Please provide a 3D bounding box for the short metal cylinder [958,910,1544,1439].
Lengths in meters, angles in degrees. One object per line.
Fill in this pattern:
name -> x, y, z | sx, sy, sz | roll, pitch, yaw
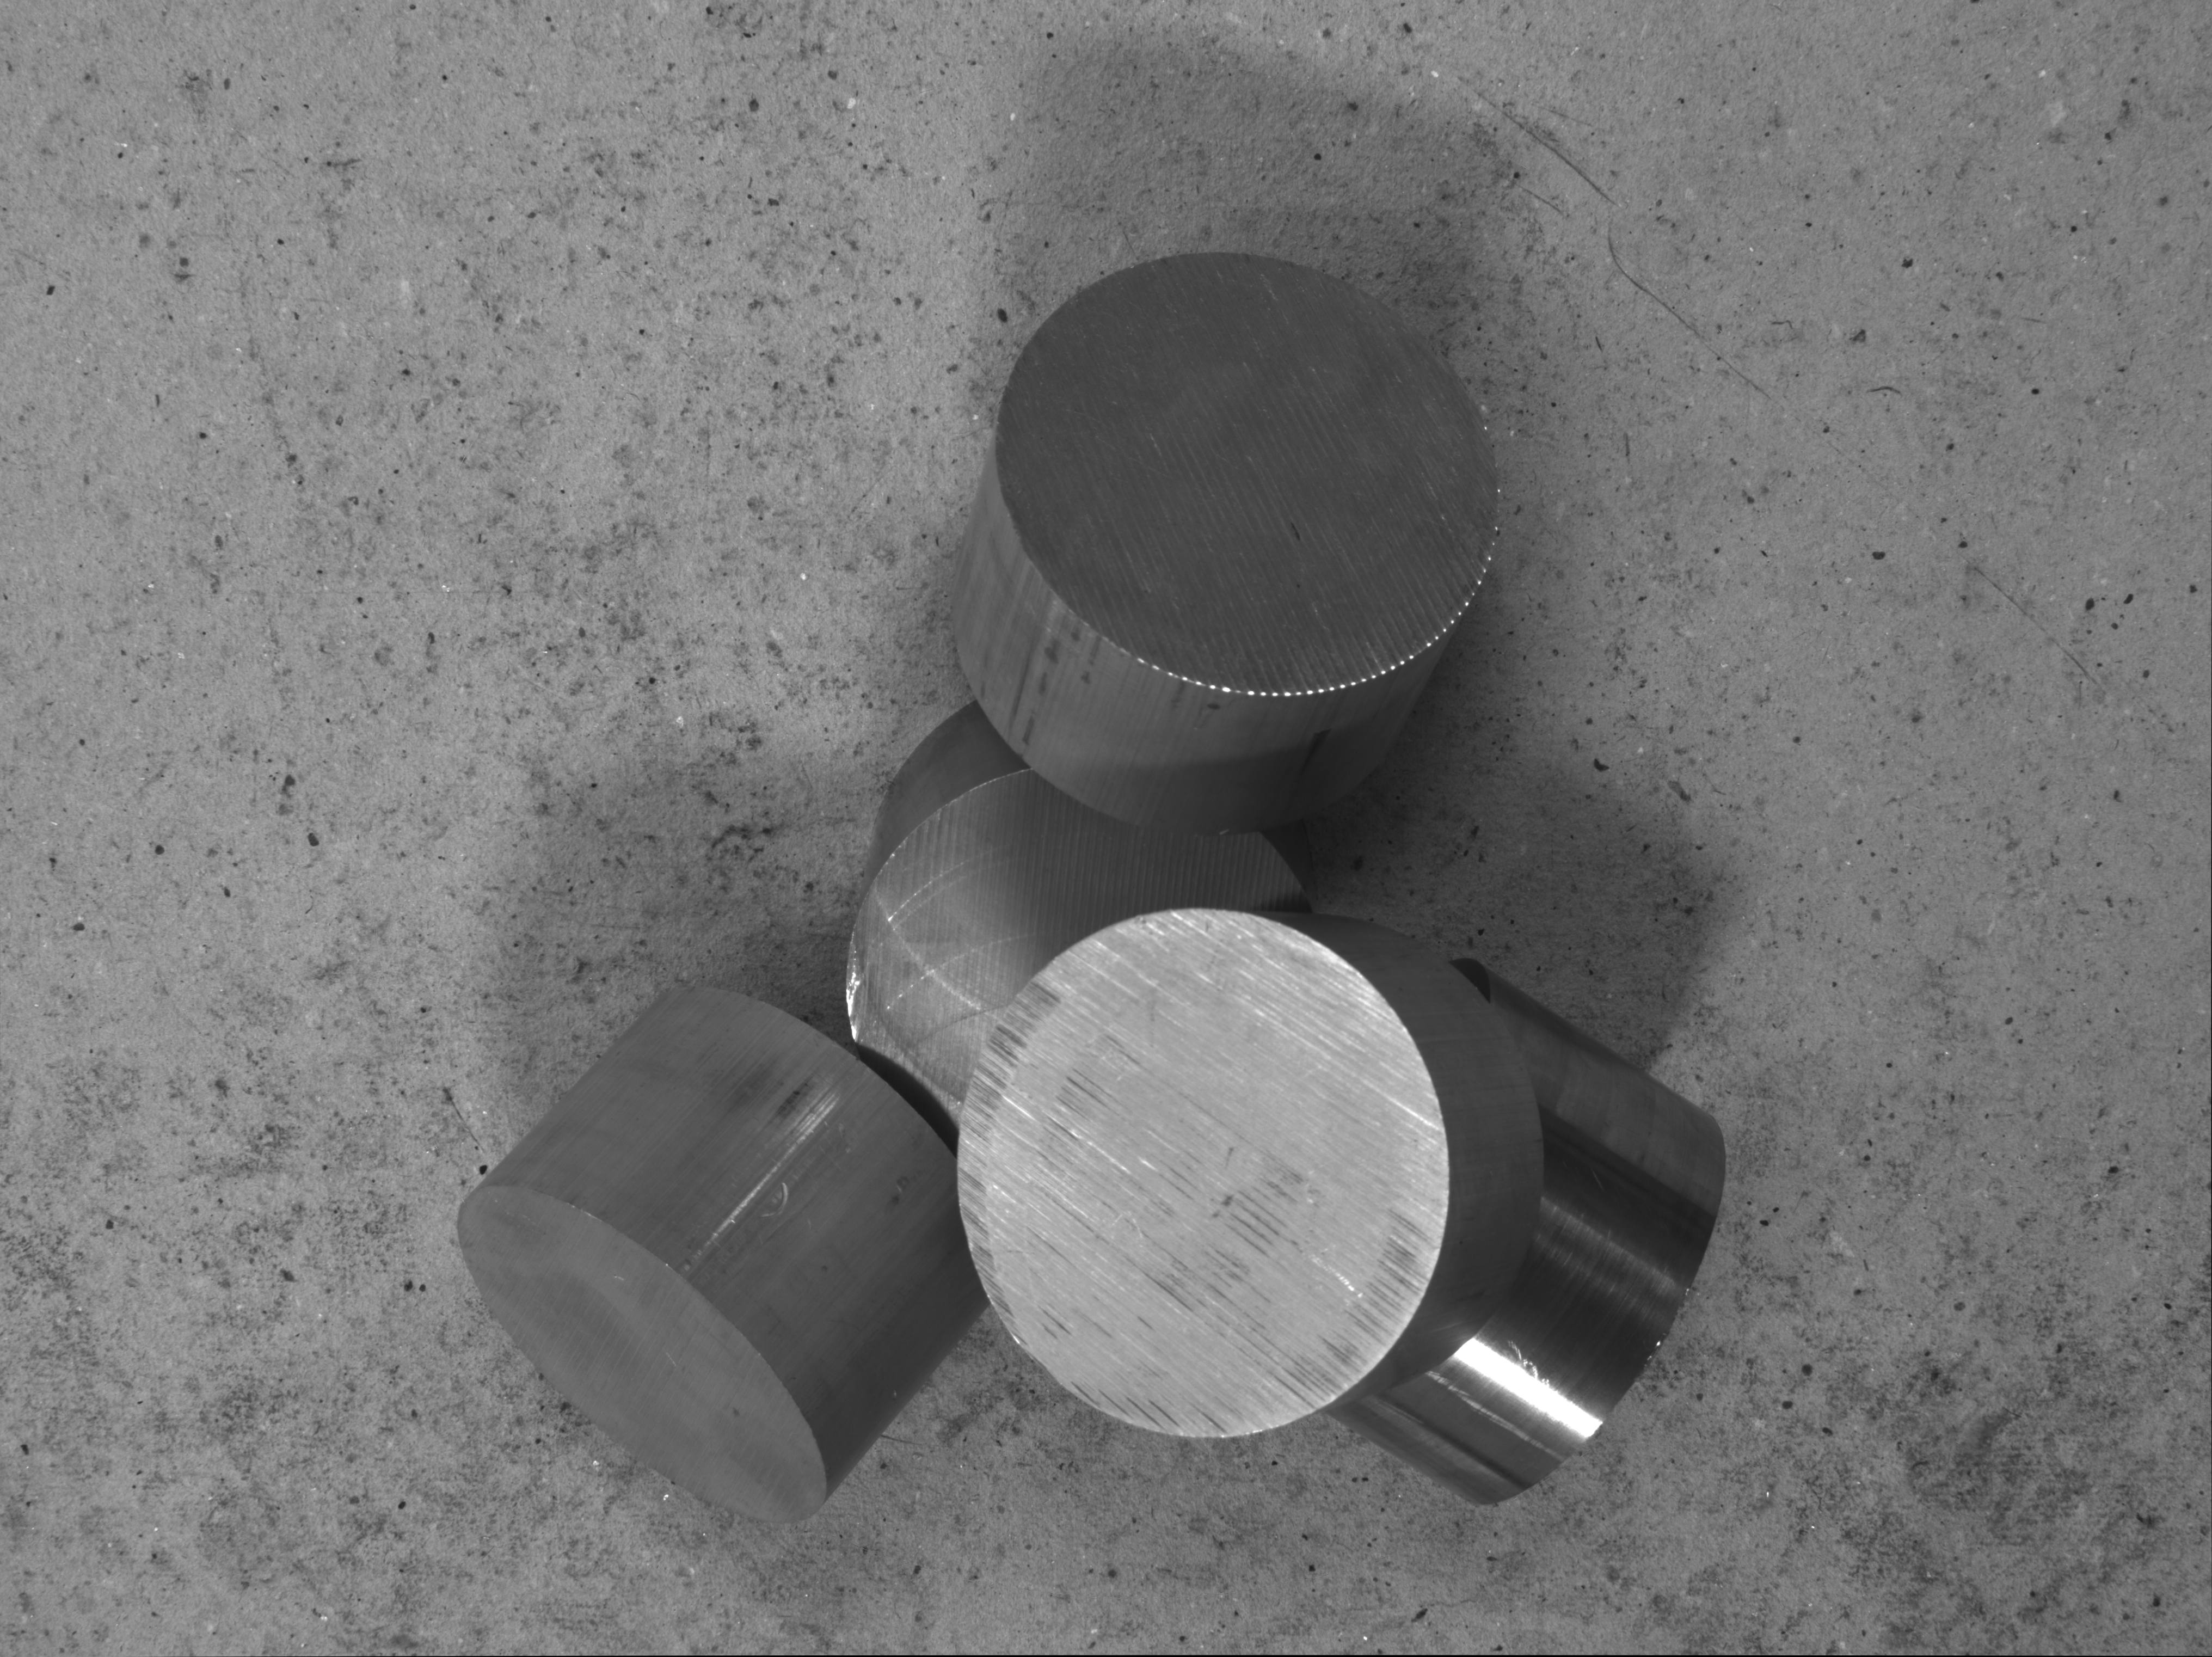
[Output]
short metal cylinder -> 0.023, 0.053, 0.579 | 0.080, 0.050, 0.080 | -1, 88, 23

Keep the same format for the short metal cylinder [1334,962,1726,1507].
short metal cylinder -> 0.063, 0.071, 0.640 | 0.050, 0.080, 0.080 | 33, 107, -11

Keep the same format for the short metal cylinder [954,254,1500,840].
short metal cylinder -> 0.018, -0.045, 0.592 | 0.080, 0.080, 0.050 | 13, 153, -5

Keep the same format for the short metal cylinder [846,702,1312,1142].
short metal cylinder -> -0.003, 0.019, 0.637 | 0.080, 0.050, 0.080 | 0, 109, 0

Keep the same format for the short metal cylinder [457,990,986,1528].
short metal cylinder -> -0.065, 0.075, 0.635 | 0.080, 0.050, 0.080 | 28, 145, 21
